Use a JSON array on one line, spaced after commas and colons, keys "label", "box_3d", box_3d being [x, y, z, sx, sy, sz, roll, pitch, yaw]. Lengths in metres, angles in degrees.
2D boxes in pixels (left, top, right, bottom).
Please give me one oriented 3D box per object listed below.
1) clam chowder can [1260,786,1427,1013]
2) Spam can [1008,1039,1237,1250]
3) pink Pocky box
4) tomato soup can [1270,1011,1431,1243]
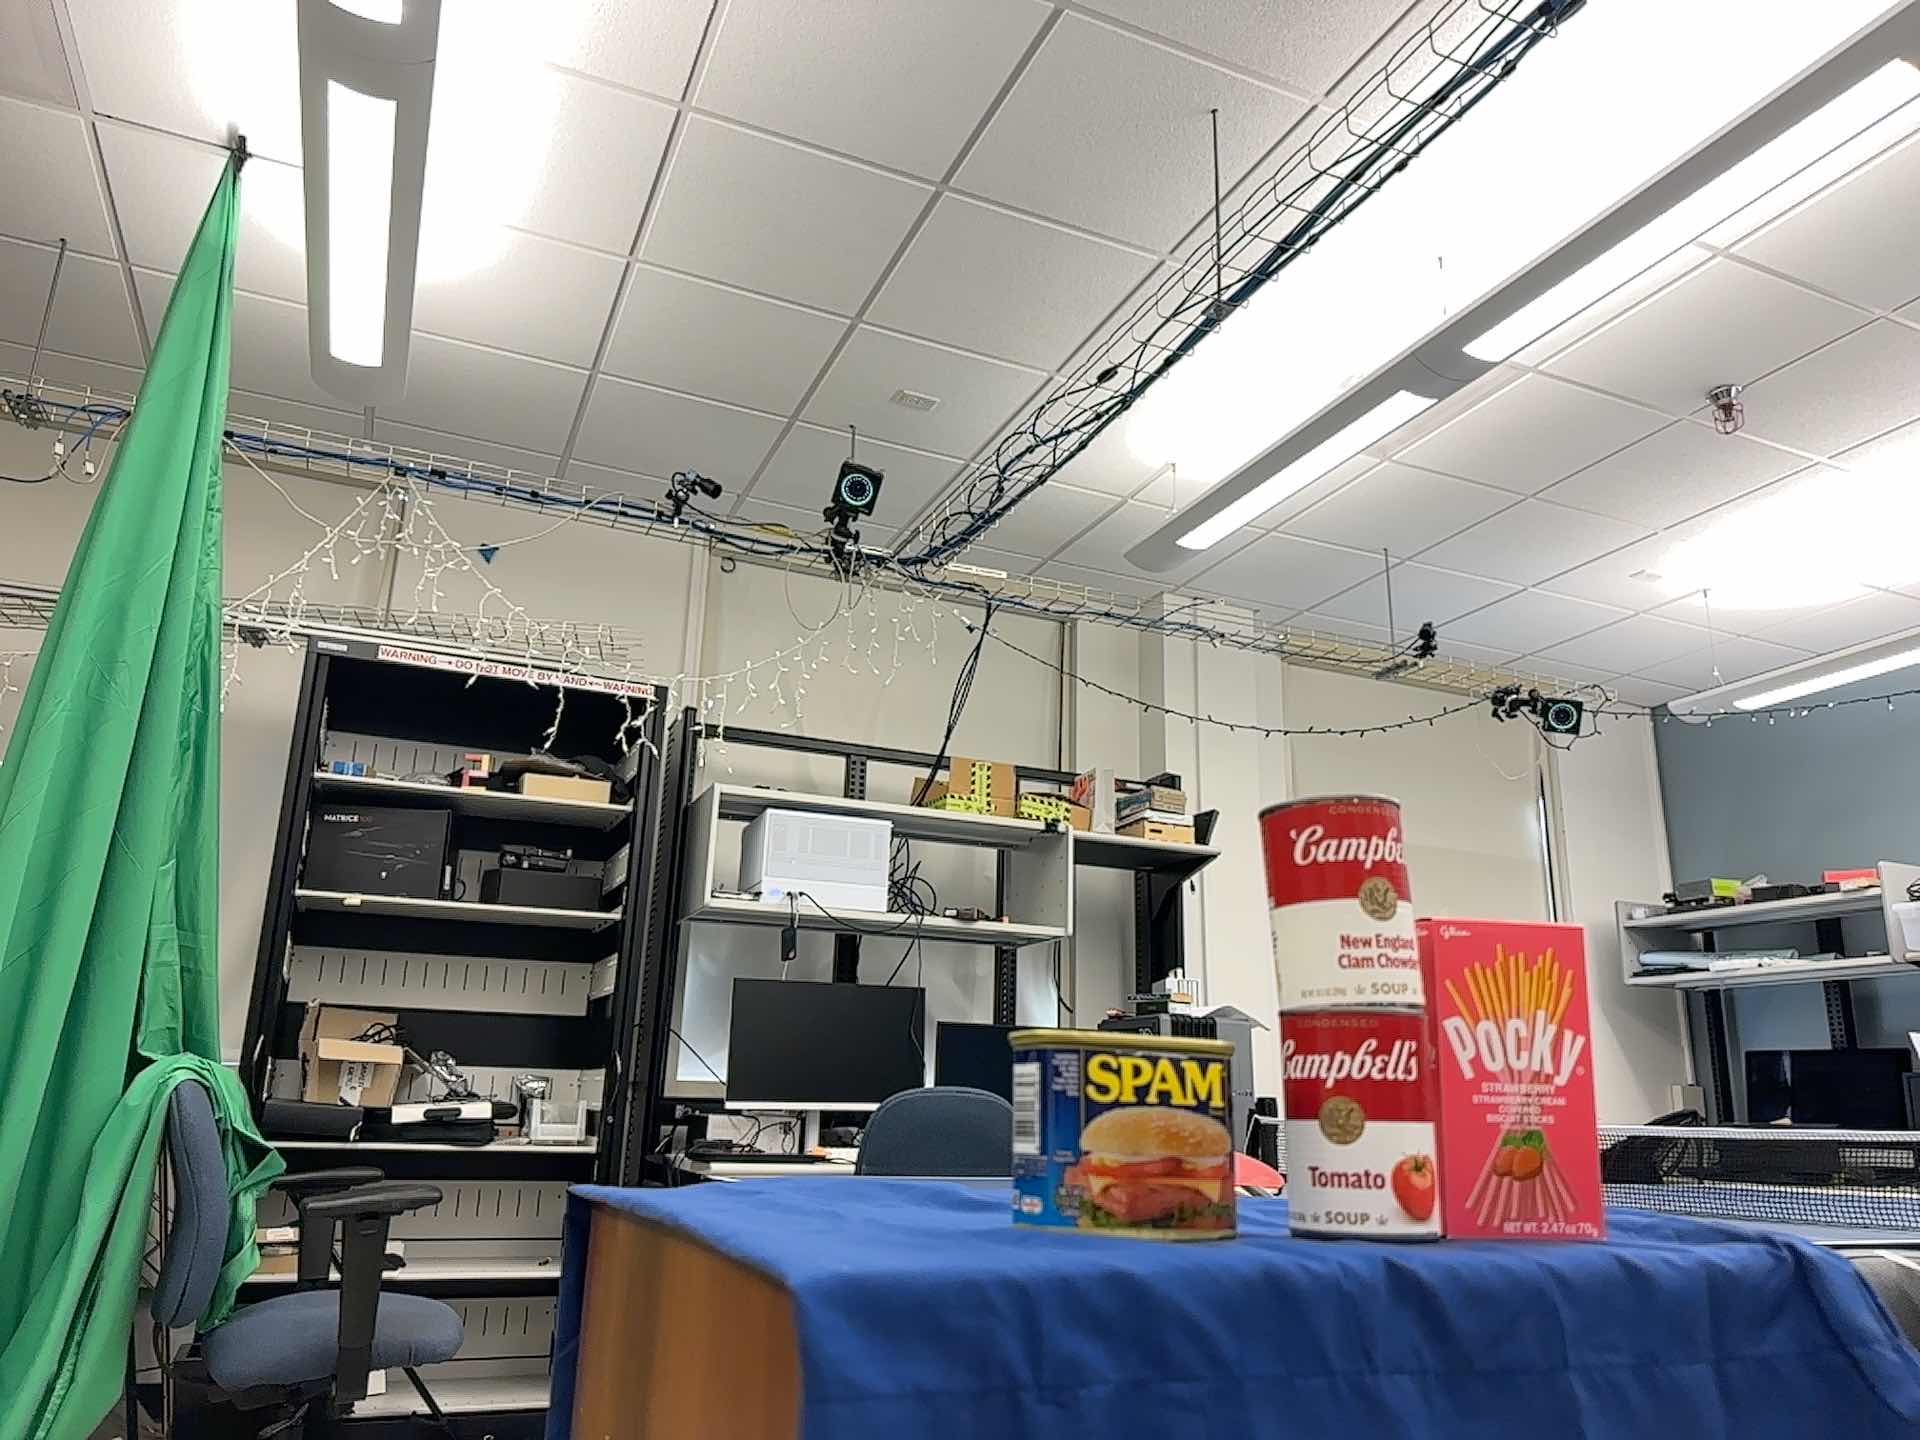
[{"label": "clam chowder can", "box_3d": [0.185, 0.090, 0.657, 0.068, 0.102, 0.068, -2, -17, -1]}, {"label": "Spam can", "box_3d": [0.073, 0.189, 0.603, 0.100, 0.083, 0.056, 9, -16, -23]}, {"label": "pink Pocky box", "box_3d": [0.265, 0.173, 0.655, 0.084, 0.155, 0.029, 3, -12, -11]}, {"label": "tomato soup can", "box_3d": [0.183, 0.191, 0.637, 0.067, 0.102, 0.067, 1, -15, 0]}]
